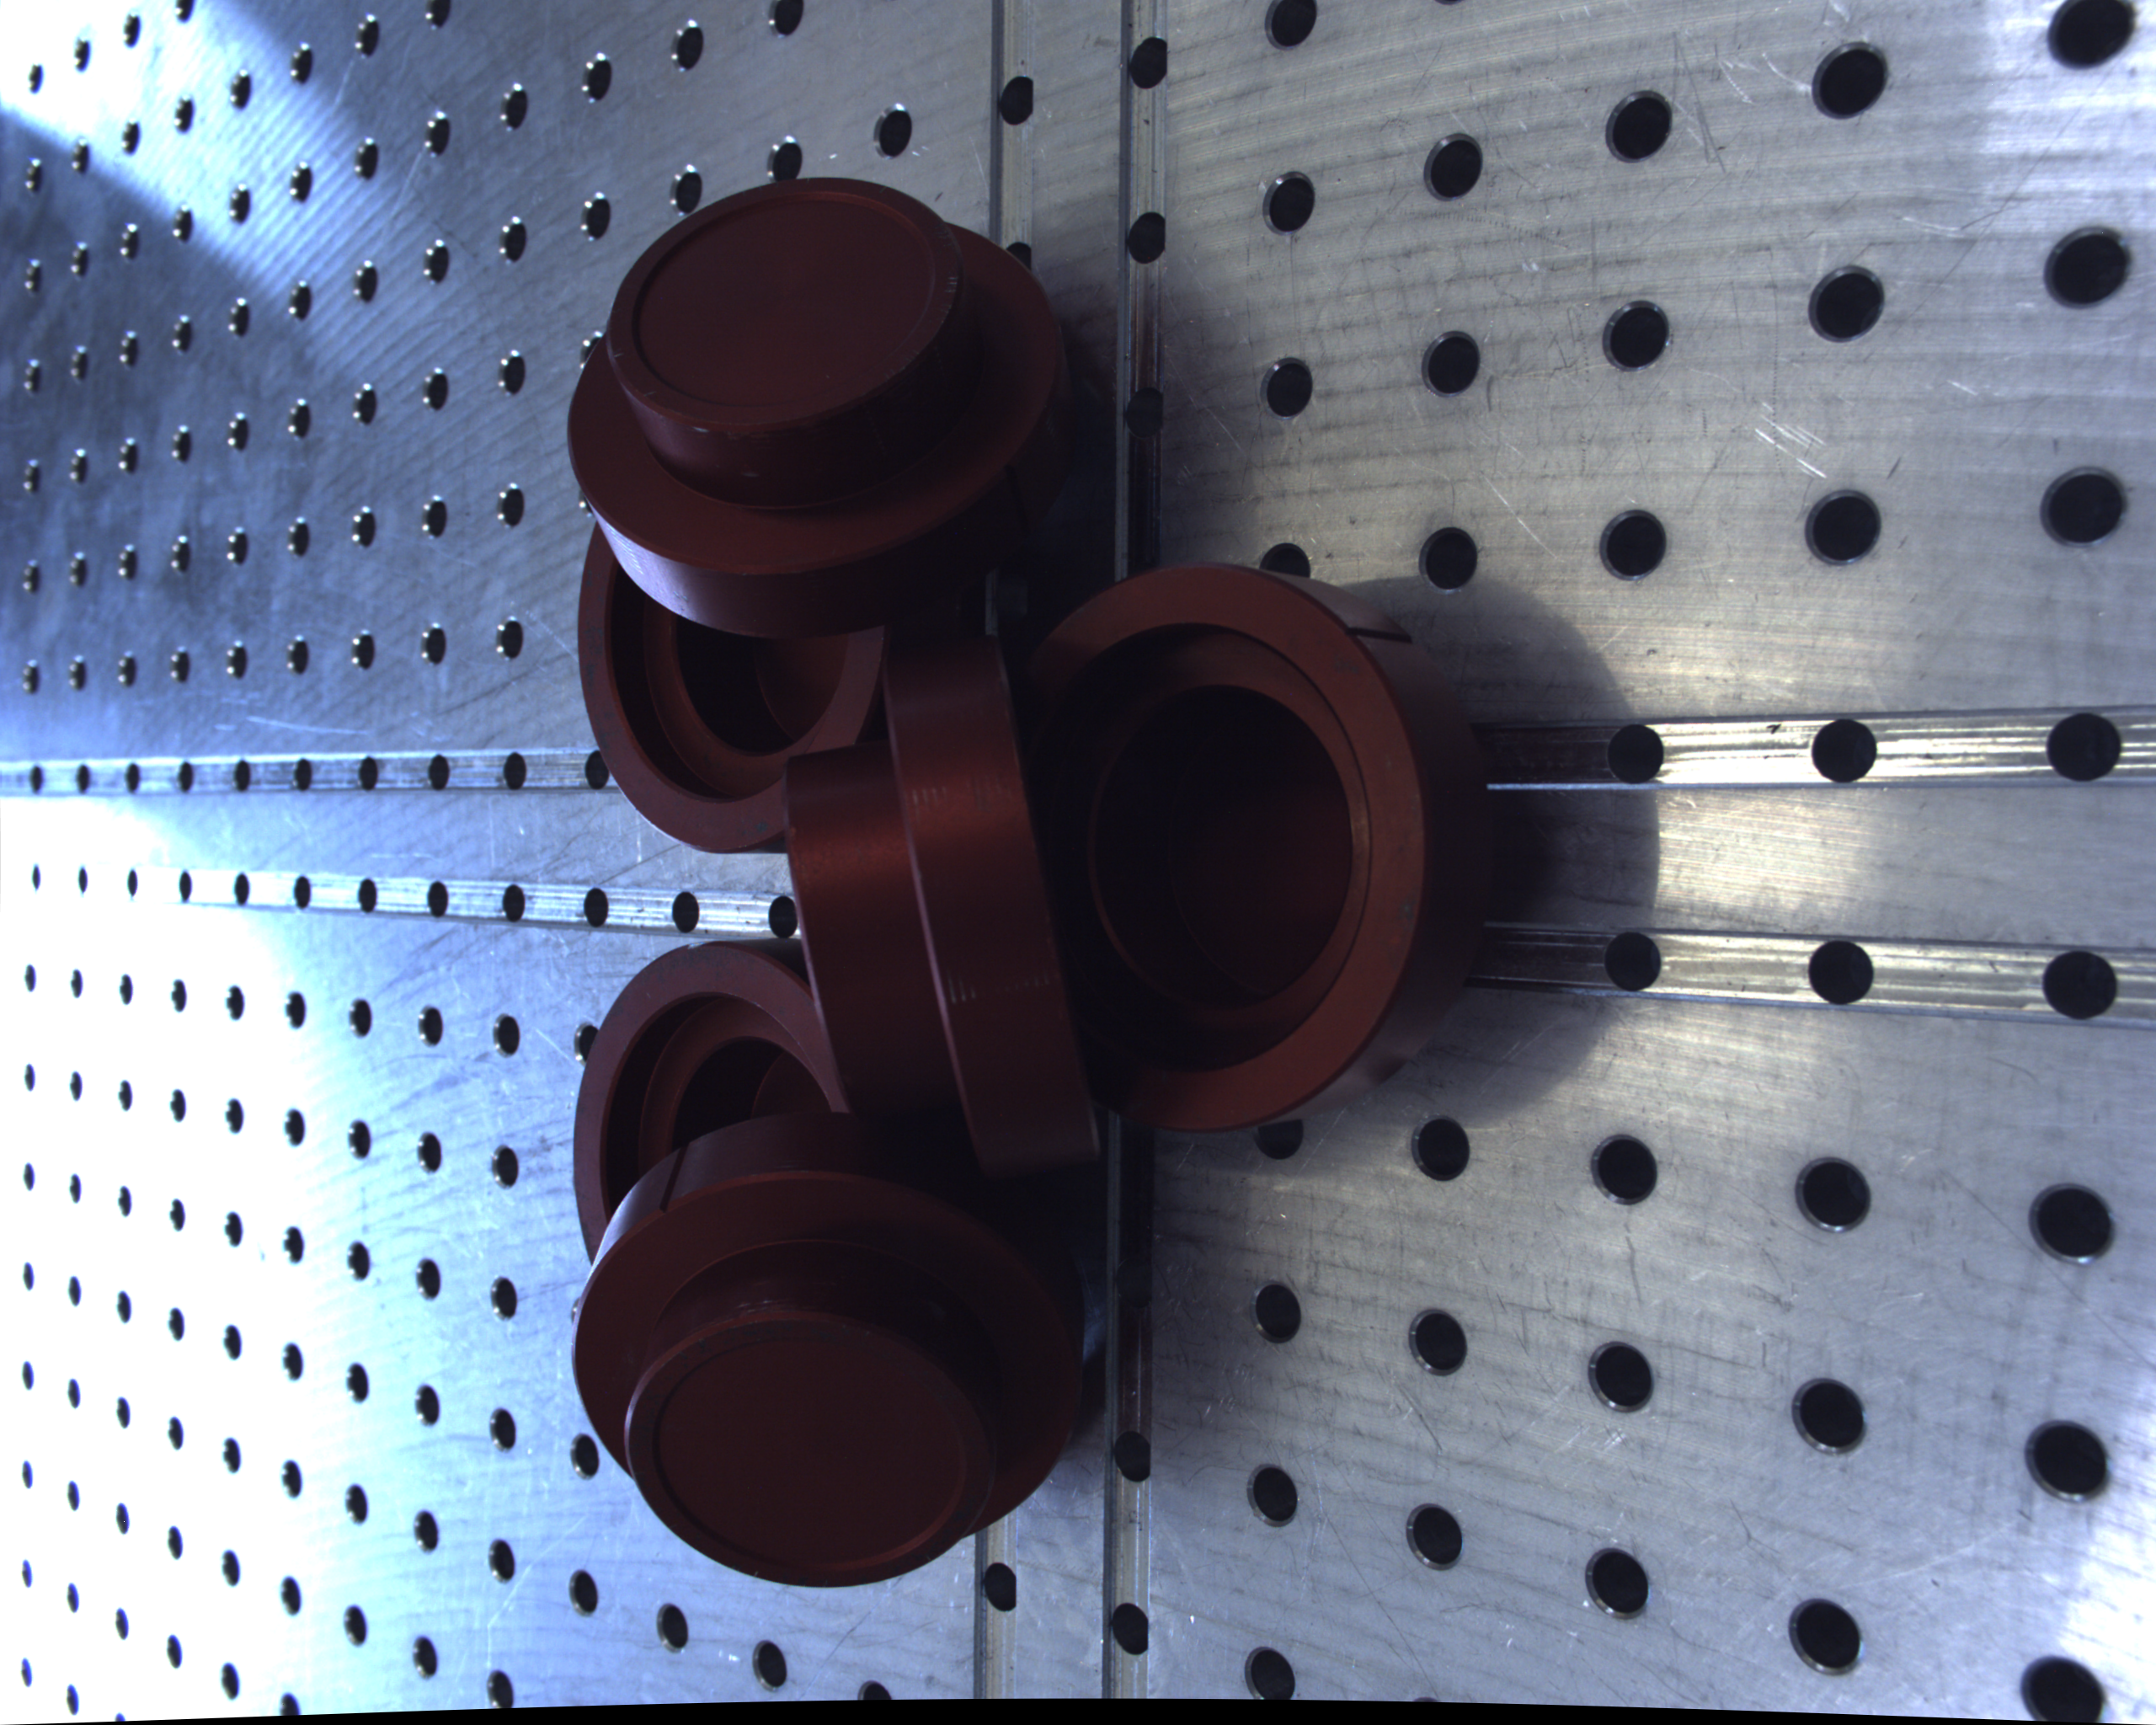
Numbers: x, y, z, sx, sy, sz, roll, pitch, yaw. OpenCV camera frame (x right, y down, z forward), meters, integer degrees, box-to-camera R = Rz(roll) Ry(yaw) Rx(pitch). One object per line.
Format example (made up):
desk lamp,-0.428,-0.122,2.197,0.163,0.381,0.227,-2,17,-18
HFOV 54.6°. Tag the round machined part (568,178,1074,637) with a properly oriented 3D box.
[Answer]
round machined part,-0.051,-0.094,0.406,0.098,0.042,0.098,-4,56,6

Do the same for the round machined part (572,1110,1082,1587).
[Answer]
round machined part,-0.049,0.099,0.402,0.099,0.042,0.097,1,117,1

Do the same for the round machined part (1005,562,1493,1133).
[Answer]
round machined part,0.031,-0.003,0.373,0.098,0.042,0.097,0,90,40

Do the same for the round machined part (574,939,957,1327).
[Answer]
round machined part,-0.062,0.065,0.450,0.098,0.042,0.097,0,90,40

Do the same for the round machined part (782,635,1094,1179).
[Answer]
round machined part,-0.027,0.010,0.382,0.042,0.098,0.098,-10,81,-3

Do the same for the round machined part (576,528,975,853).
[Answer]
round machined part,-0.061,-0.051,0.449,0.098,0.042,0.097,0,90,40
